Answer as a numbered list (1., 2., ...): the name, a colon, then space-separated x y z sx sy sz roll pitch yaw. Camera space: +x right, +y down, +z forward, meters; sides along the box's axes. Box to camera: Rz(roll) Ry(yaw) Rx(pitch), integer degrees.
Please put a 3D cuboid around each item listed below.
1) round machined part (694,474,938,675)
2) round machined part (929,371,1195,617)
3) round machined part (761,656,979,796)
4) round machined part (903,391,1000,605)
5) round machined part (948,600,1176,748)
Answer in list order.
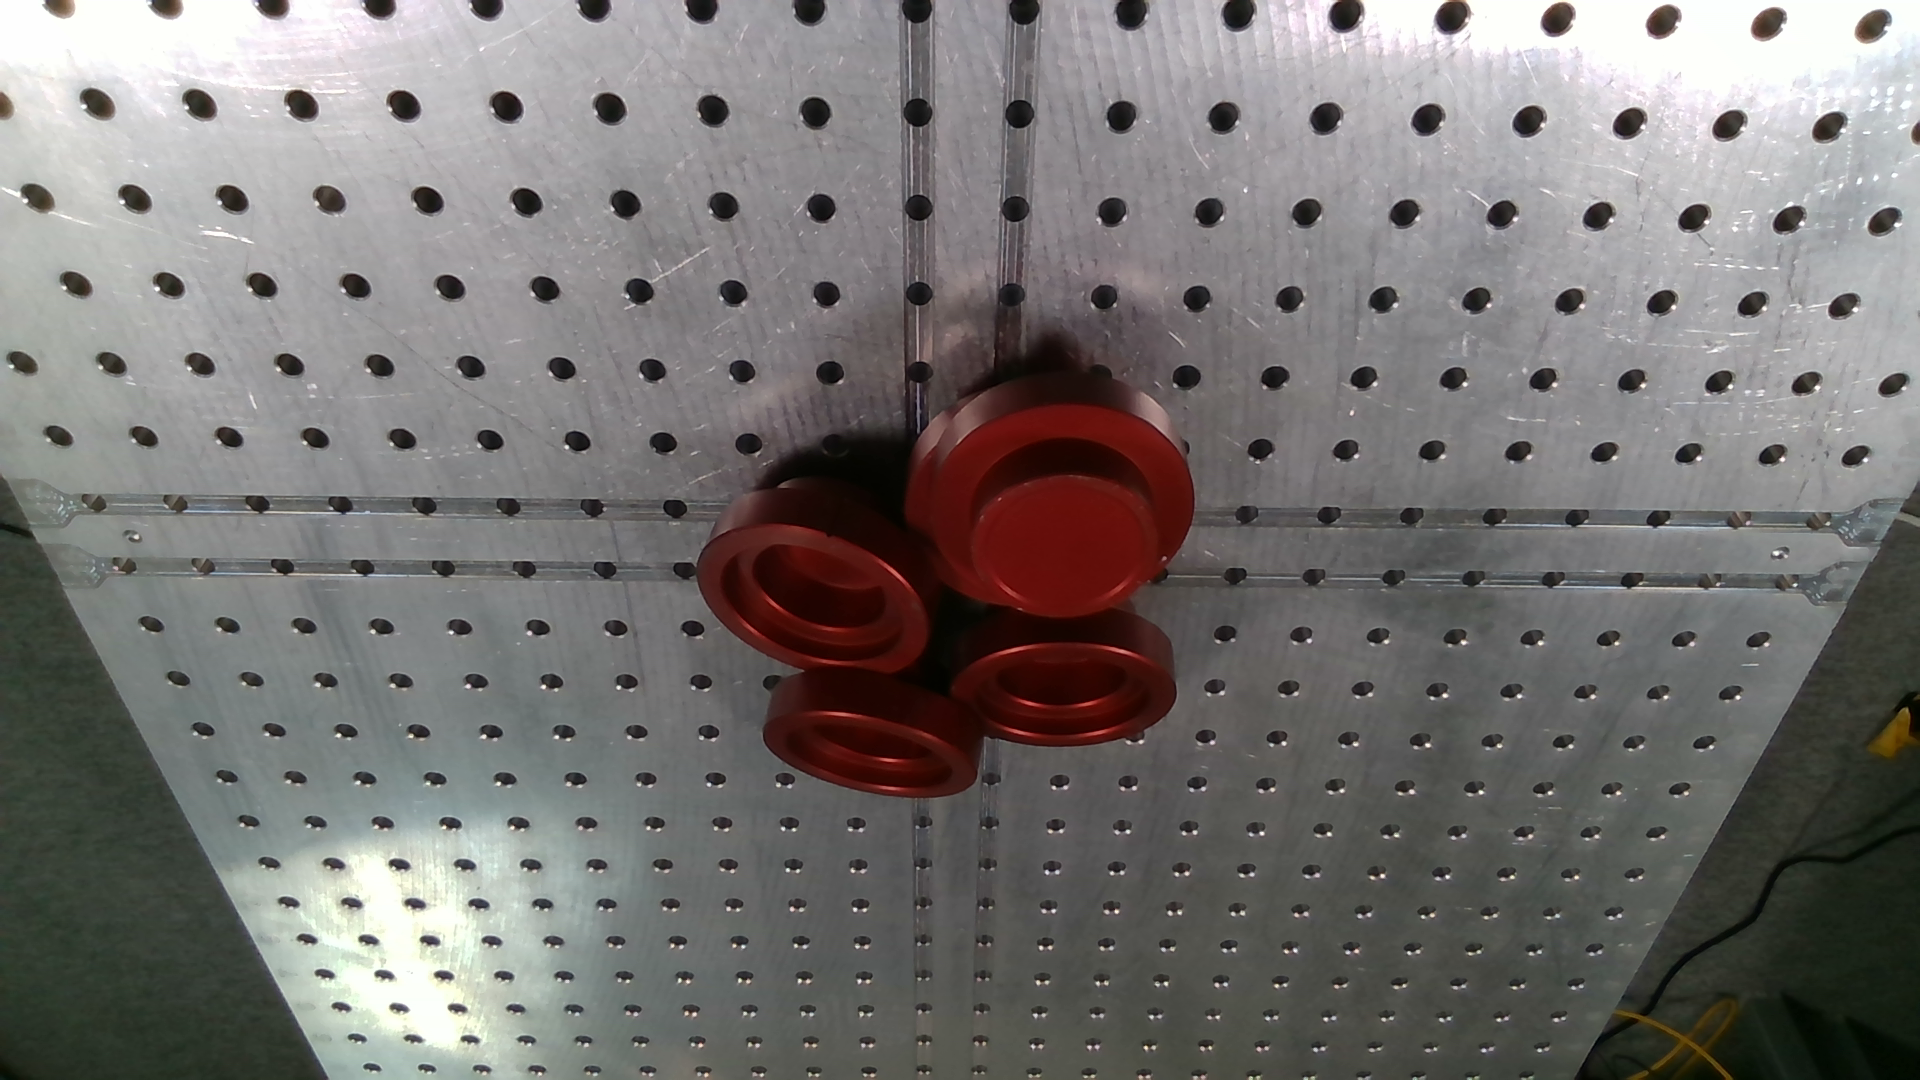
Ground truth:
1. round machined part: -0.056 0.011 0.569 0.098 0.042 0.098 11 141 9
2. round machined part: 0.037 -0.010 0.507 0.098 0.042 0.098 0 130 0
3. round machined part: -0.037 0.079 0.623 0.098 0.042 0.098 9 151 5
4. round machined part: 0.027 -0.023 0.551 0.098 0.042 0.098 0 130 0
5. round machined part: 0.044 0.051 0.602 0.098 0.042 0.098 1 146 1
